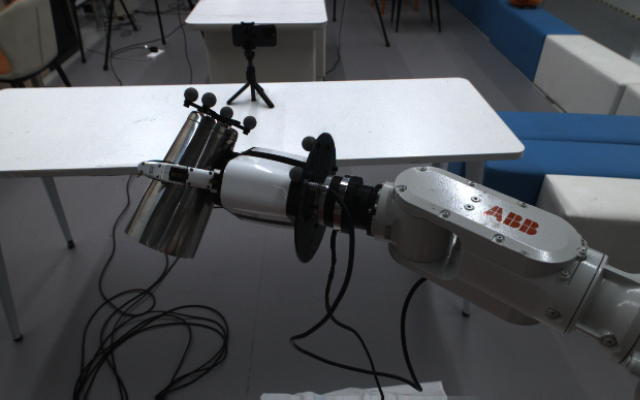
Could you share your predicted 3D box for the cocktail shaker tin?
[{"bbox_3d":[-0.167,-0.024,0.615,0.093,0.170,0.093,23,0,0],"label":"cocktail shaker tin"}]
